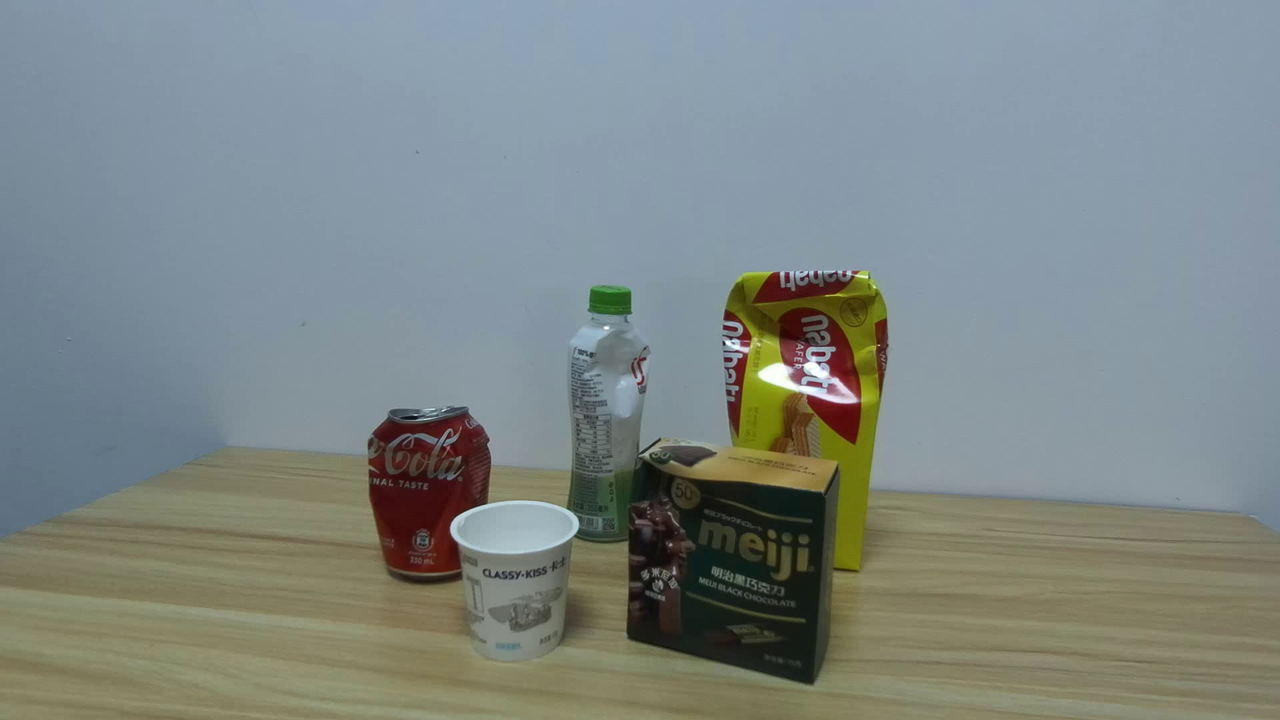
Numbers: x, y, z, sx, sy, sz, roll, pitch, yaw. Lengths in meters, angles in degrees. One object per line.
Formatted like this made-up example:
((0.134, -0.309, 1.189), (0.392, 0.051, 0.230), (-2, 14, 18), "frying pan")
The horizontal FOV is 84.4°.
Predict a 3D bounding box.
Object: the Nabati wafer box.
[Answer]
((0.113, 0.041, 0.494), (0.113, 0.205, 0.043), (1, 9, 12), "Nabati wafer box")

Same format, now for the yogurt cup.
((-0.069, 0.125, 0.399), (0.072, 0.068, 0.072), (1, 11, 0), "yogurt cup")

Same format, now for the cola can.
((-0.140, 0.087, 0.482), (0.069, 0.112, 0.066), (7, 12, 29), "cola can")

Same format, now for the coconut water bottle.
((-0.024, 0.038, 0.538), (0.069, 0.186, 0.069), (2, 10, 0), "coconut water bottle")
